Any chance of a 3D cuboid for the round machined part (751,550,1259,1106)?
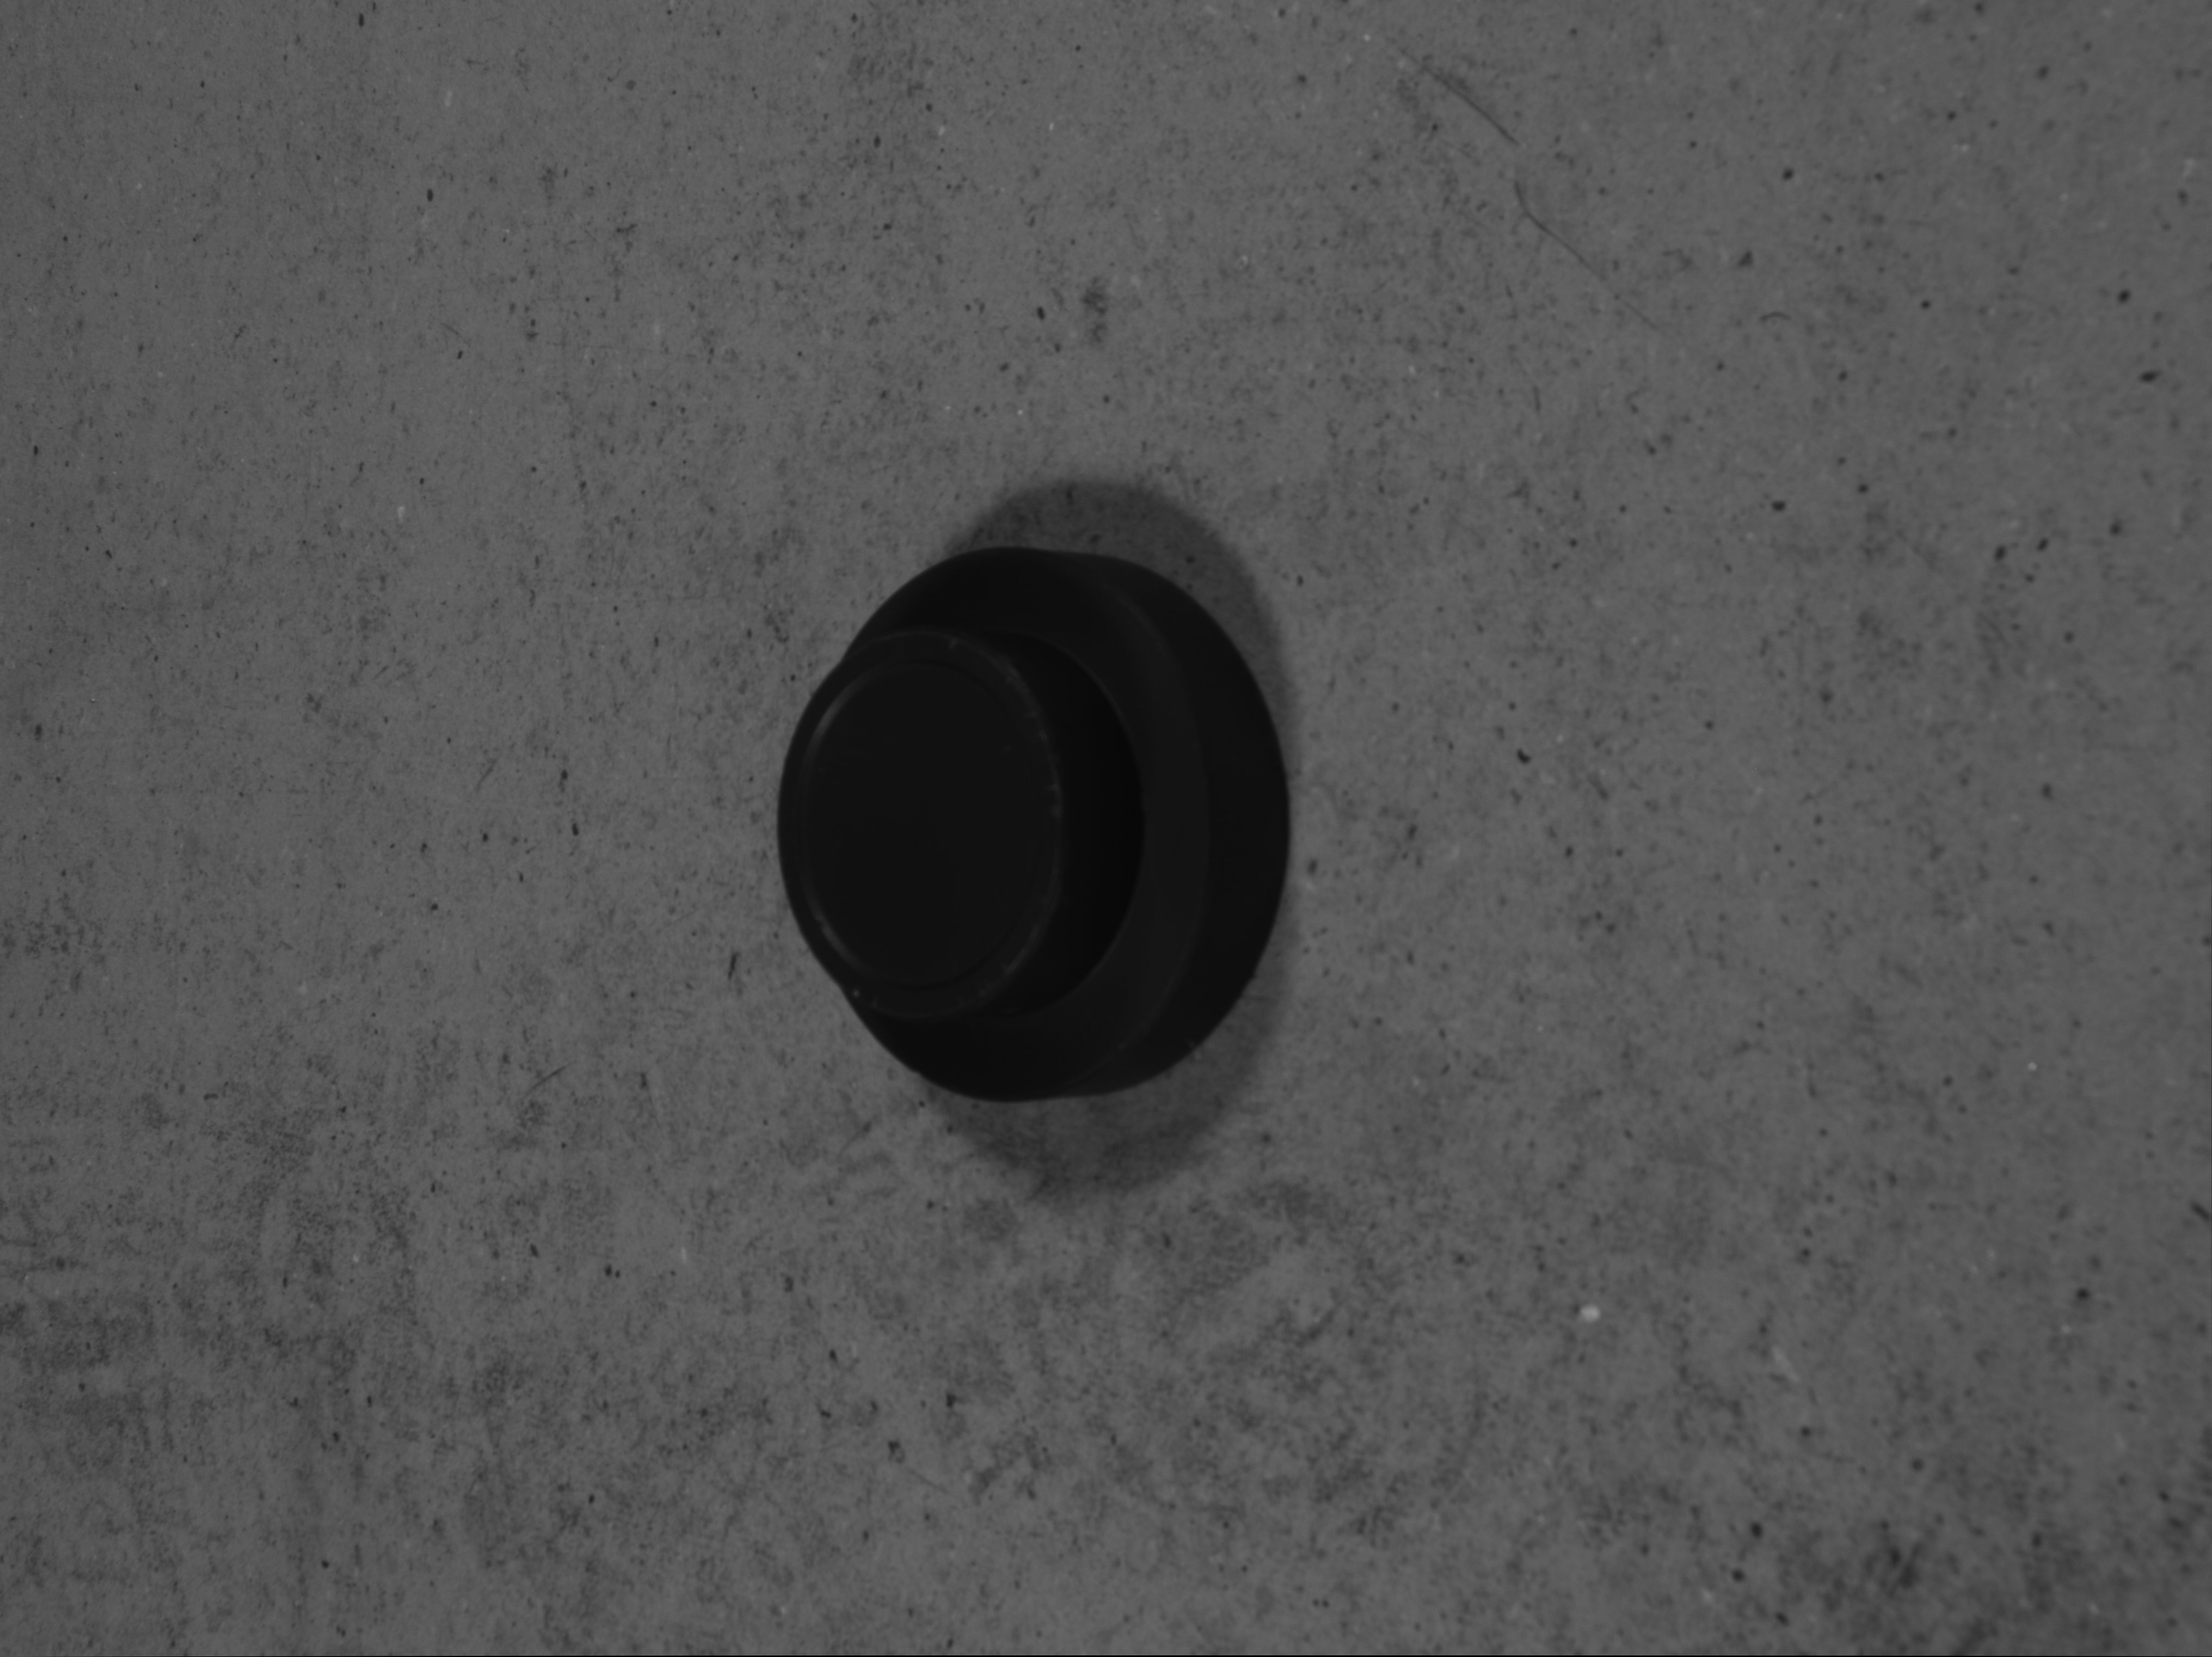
[{"bbox_3d":[-0.024,0.000,0.645,0.098,0.042,0.098,0,90,39],"label":"round machined part"}]
